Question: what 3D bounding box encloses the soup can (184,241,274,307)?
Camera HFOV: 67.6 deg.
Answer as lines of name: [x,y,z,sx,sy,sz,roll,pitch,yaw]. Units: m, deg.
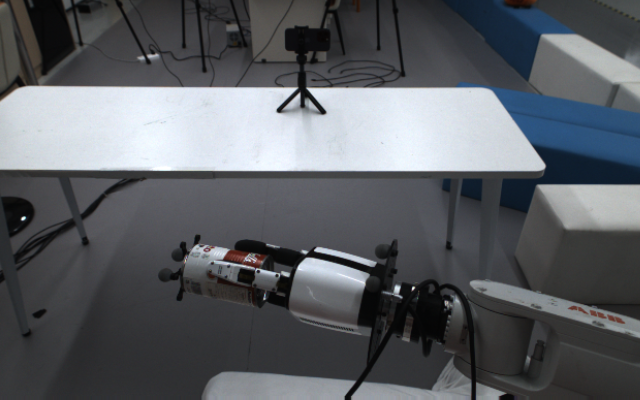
soup can: [-0.115,0.097,0.621,0.101,0.067,0.067,8,35,11]
